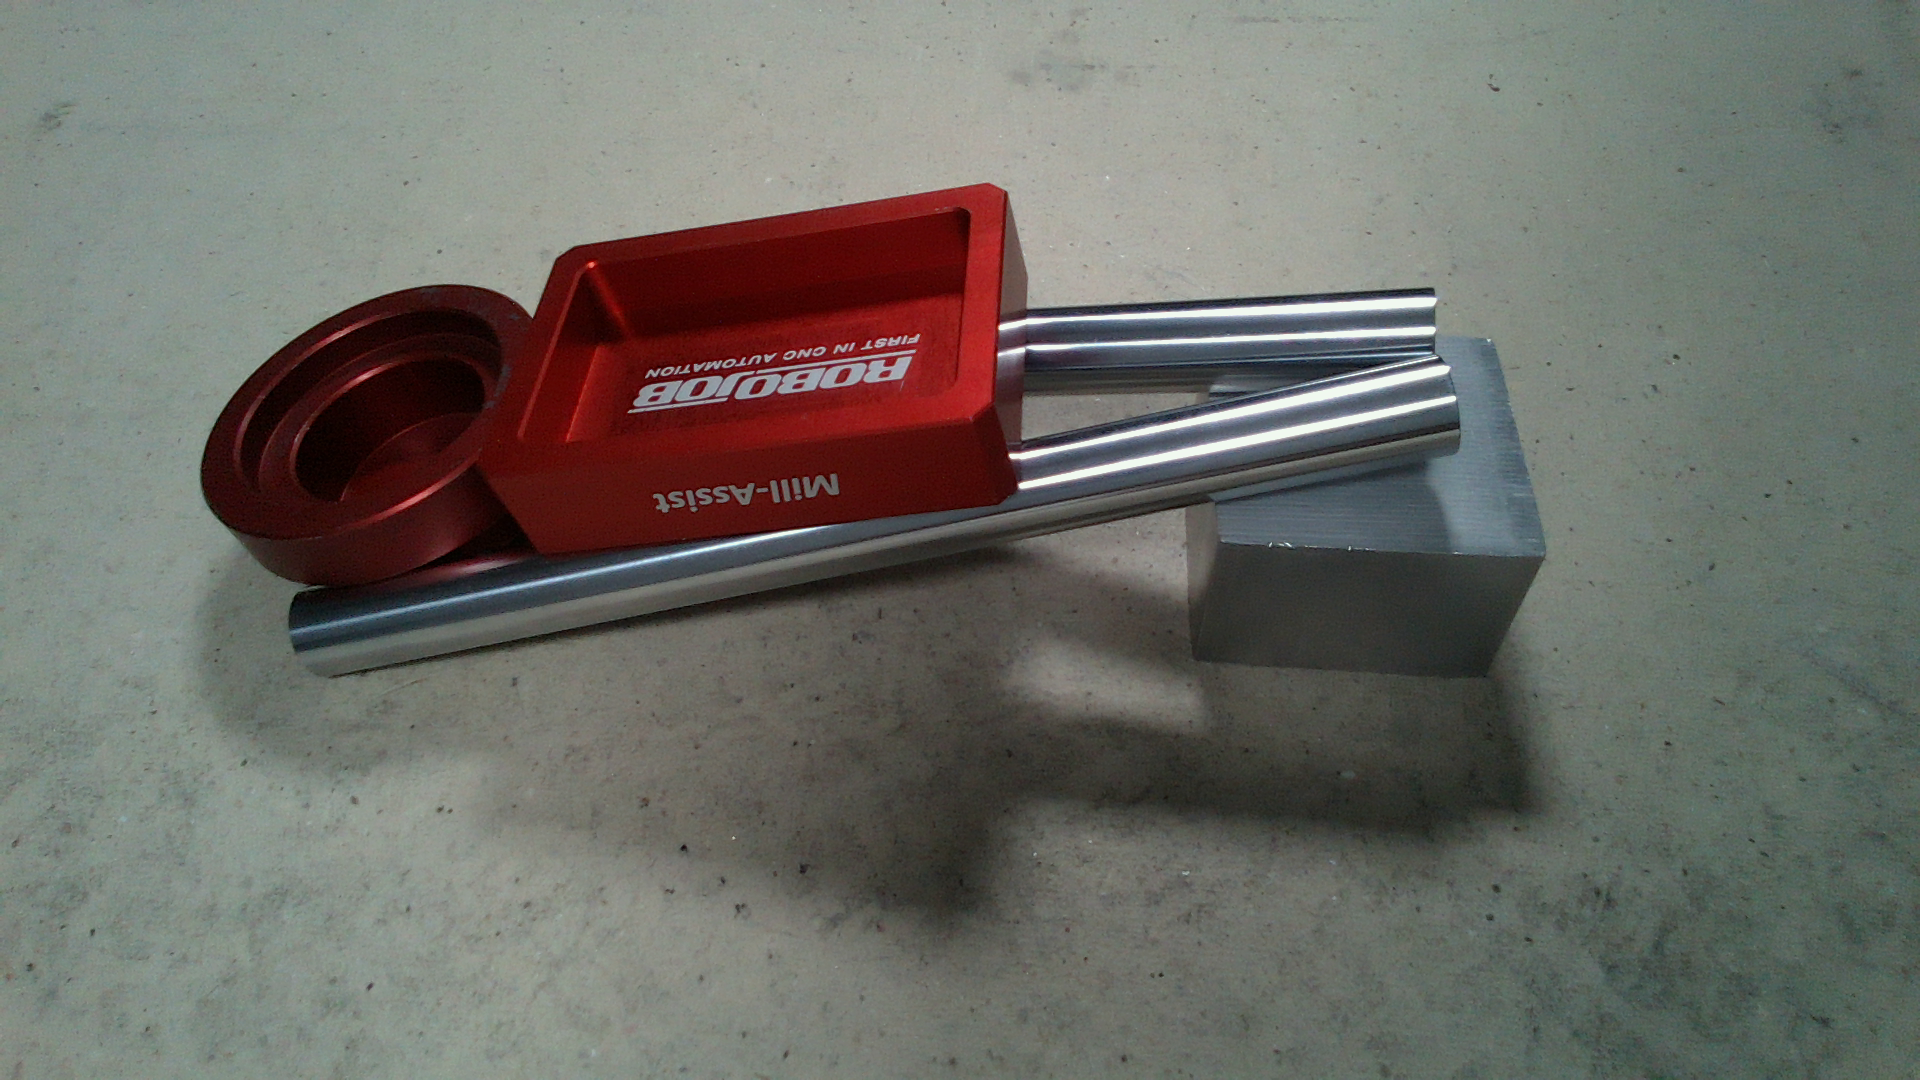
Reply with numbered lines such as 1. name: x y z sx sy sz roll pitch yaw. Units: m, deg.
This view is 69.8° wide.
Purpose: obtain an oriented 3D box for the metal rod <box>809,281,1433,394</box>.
1. metal rod: -0.023 -0.053 0.394 0.299 0.025 0.025 0 49 17

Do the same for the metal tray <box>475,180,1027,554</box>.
1. metal tray: -0.050 -0.046 0.359 0.130 0.030 0.090 -6 49 12

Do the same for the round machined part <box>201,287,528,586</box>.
1. round machined part: -0.158 -0.025 0.394 0.098 0.042 0.098 -7 49 8

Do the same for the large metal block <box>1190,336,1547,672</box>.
1. large metal block: 0.107 -0.013 0.384 0.080 0.050 0.080 3 50 3

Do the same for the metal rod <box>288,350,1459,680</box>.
1. metal rod: -0.028 -0.004 0.353 0.300 0.025 0.025 -12 50 7
